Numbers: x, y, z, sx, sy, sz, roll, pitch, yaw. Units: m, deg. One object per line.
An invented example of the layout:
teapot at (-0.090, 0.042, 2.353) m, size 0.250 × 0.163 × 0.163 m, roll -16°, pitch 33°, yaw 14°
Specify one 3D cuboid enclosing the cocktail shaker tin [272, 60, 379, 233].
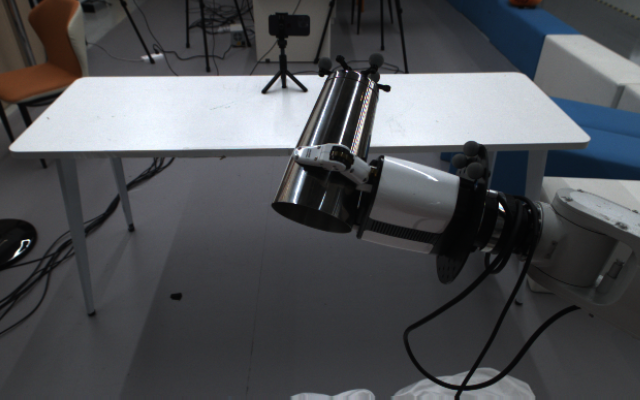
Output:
cocktail shaker tin at (0.016, -0.057, 0.553) m, size 0.093 × 0.093 × 0.170 m, roll 13°, pitch 74°, yaw 15°
